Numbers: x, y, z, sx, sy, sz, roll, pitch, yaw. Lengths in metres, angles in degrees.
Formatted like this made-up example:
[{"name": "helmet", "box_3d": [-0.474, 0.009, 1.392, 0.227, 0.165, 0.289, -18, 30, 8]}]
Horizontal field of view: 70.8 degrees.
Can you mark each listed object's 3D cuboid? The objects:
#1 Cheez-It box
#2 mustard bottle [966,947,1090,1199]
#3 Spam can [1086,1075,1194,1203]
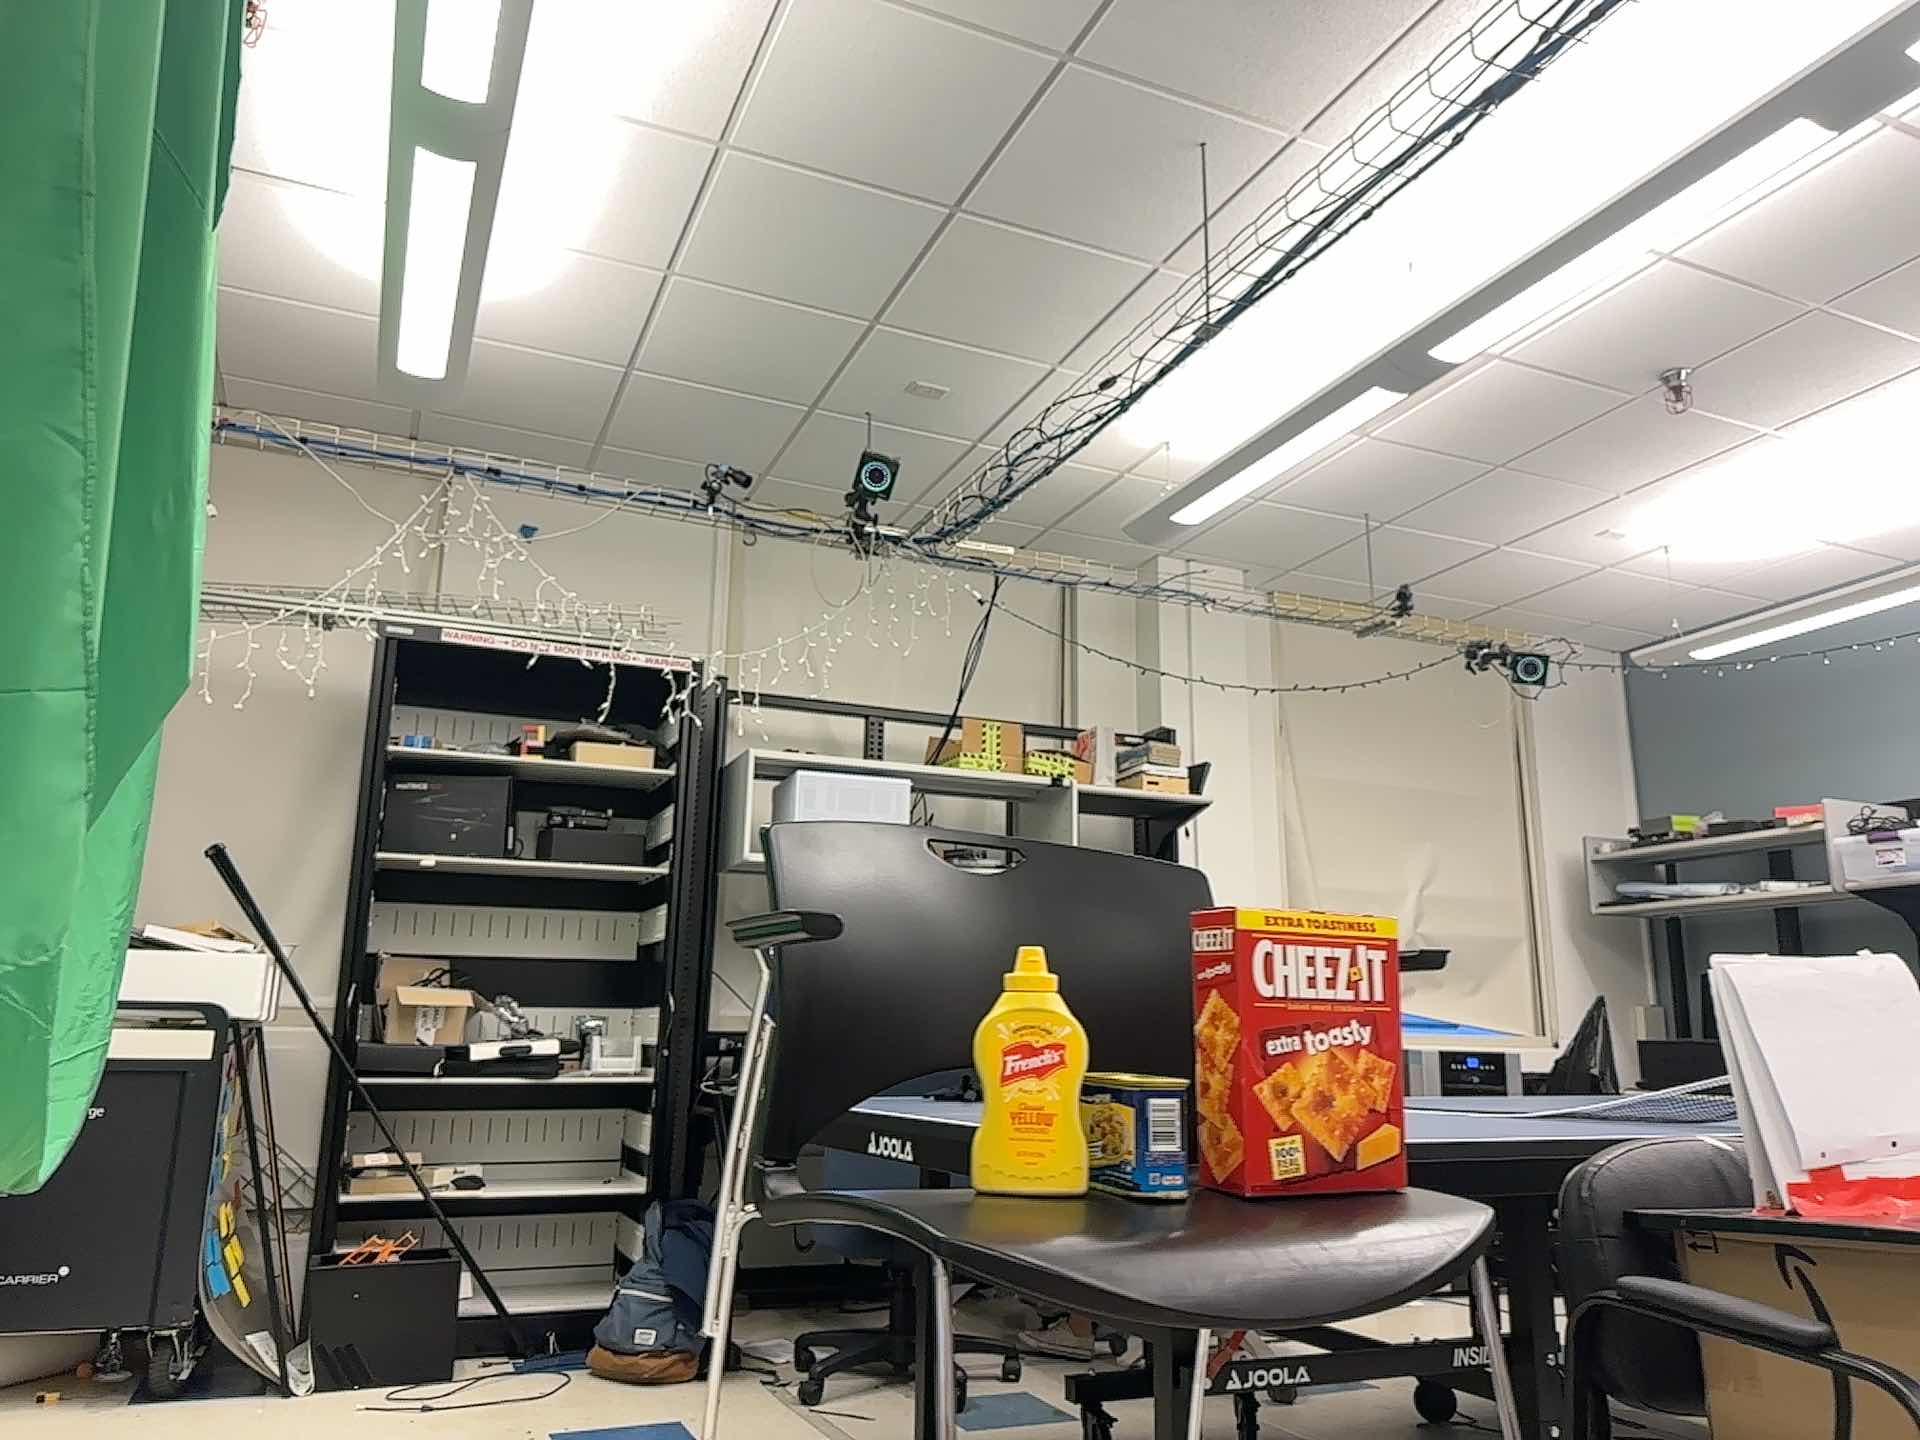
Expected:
[{"name": "Cheez-It box", "box_3d": [0.281, 0.263, 1.102, 0.159, 0.214, 0.062, 5, -14, -22]}, {"name": "mustard bottle", "box_3d": [0.053, 0.266, 1.032, 0.092, 0.184, 0.054, 4, -11, -6]}, {"name": "Spam can", "box_3d": [0.136, 0.323, 1.050, 0.056, 0.083, 0.100, 7, -12, -20]}]
